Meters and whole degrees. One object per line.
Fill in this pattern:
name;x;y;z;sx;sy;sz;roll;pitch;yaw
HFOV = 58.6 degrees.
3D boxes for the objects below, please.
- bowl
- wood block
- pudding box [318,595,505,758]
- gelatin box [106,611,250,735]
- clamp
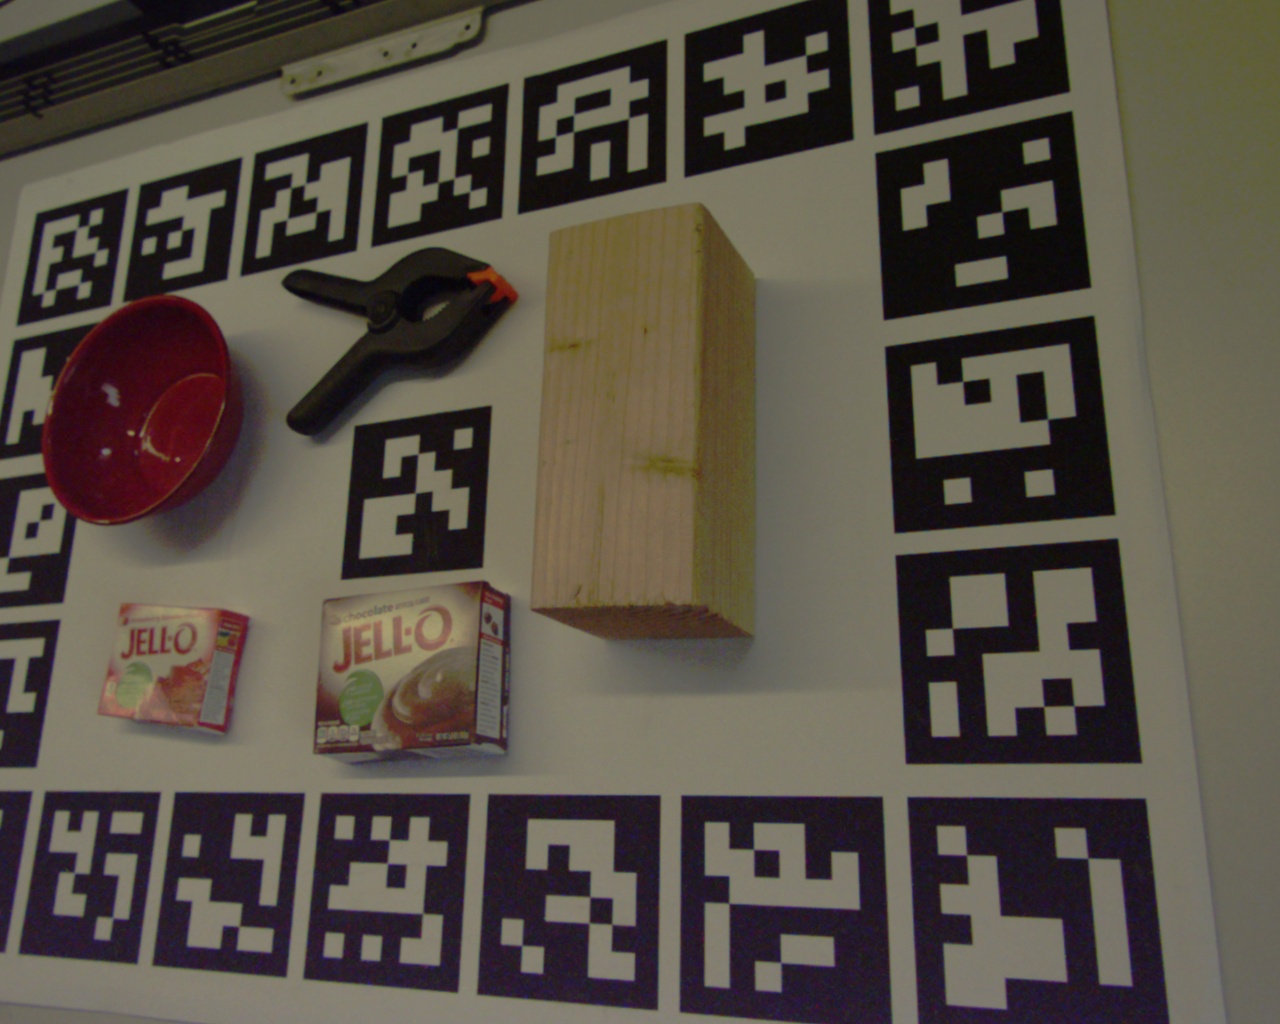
bowl;-0.330;-0.059;0.808;0.163;0.054;0.162;-5;76;22
wood block;0.002;-0.034;0.624;0.091;0.090;0.206;-3;75;22
pudding box;-0.136;0.100;0.678;0.115;0.038;0.090;-7;77;25
gelatin box;-0.307;0.105;0.756;0.090;0.030;0.073;3;78;25
clamp;-0.176;-0.111;0.766;0.166;0.036;0.122;-16;69;17
